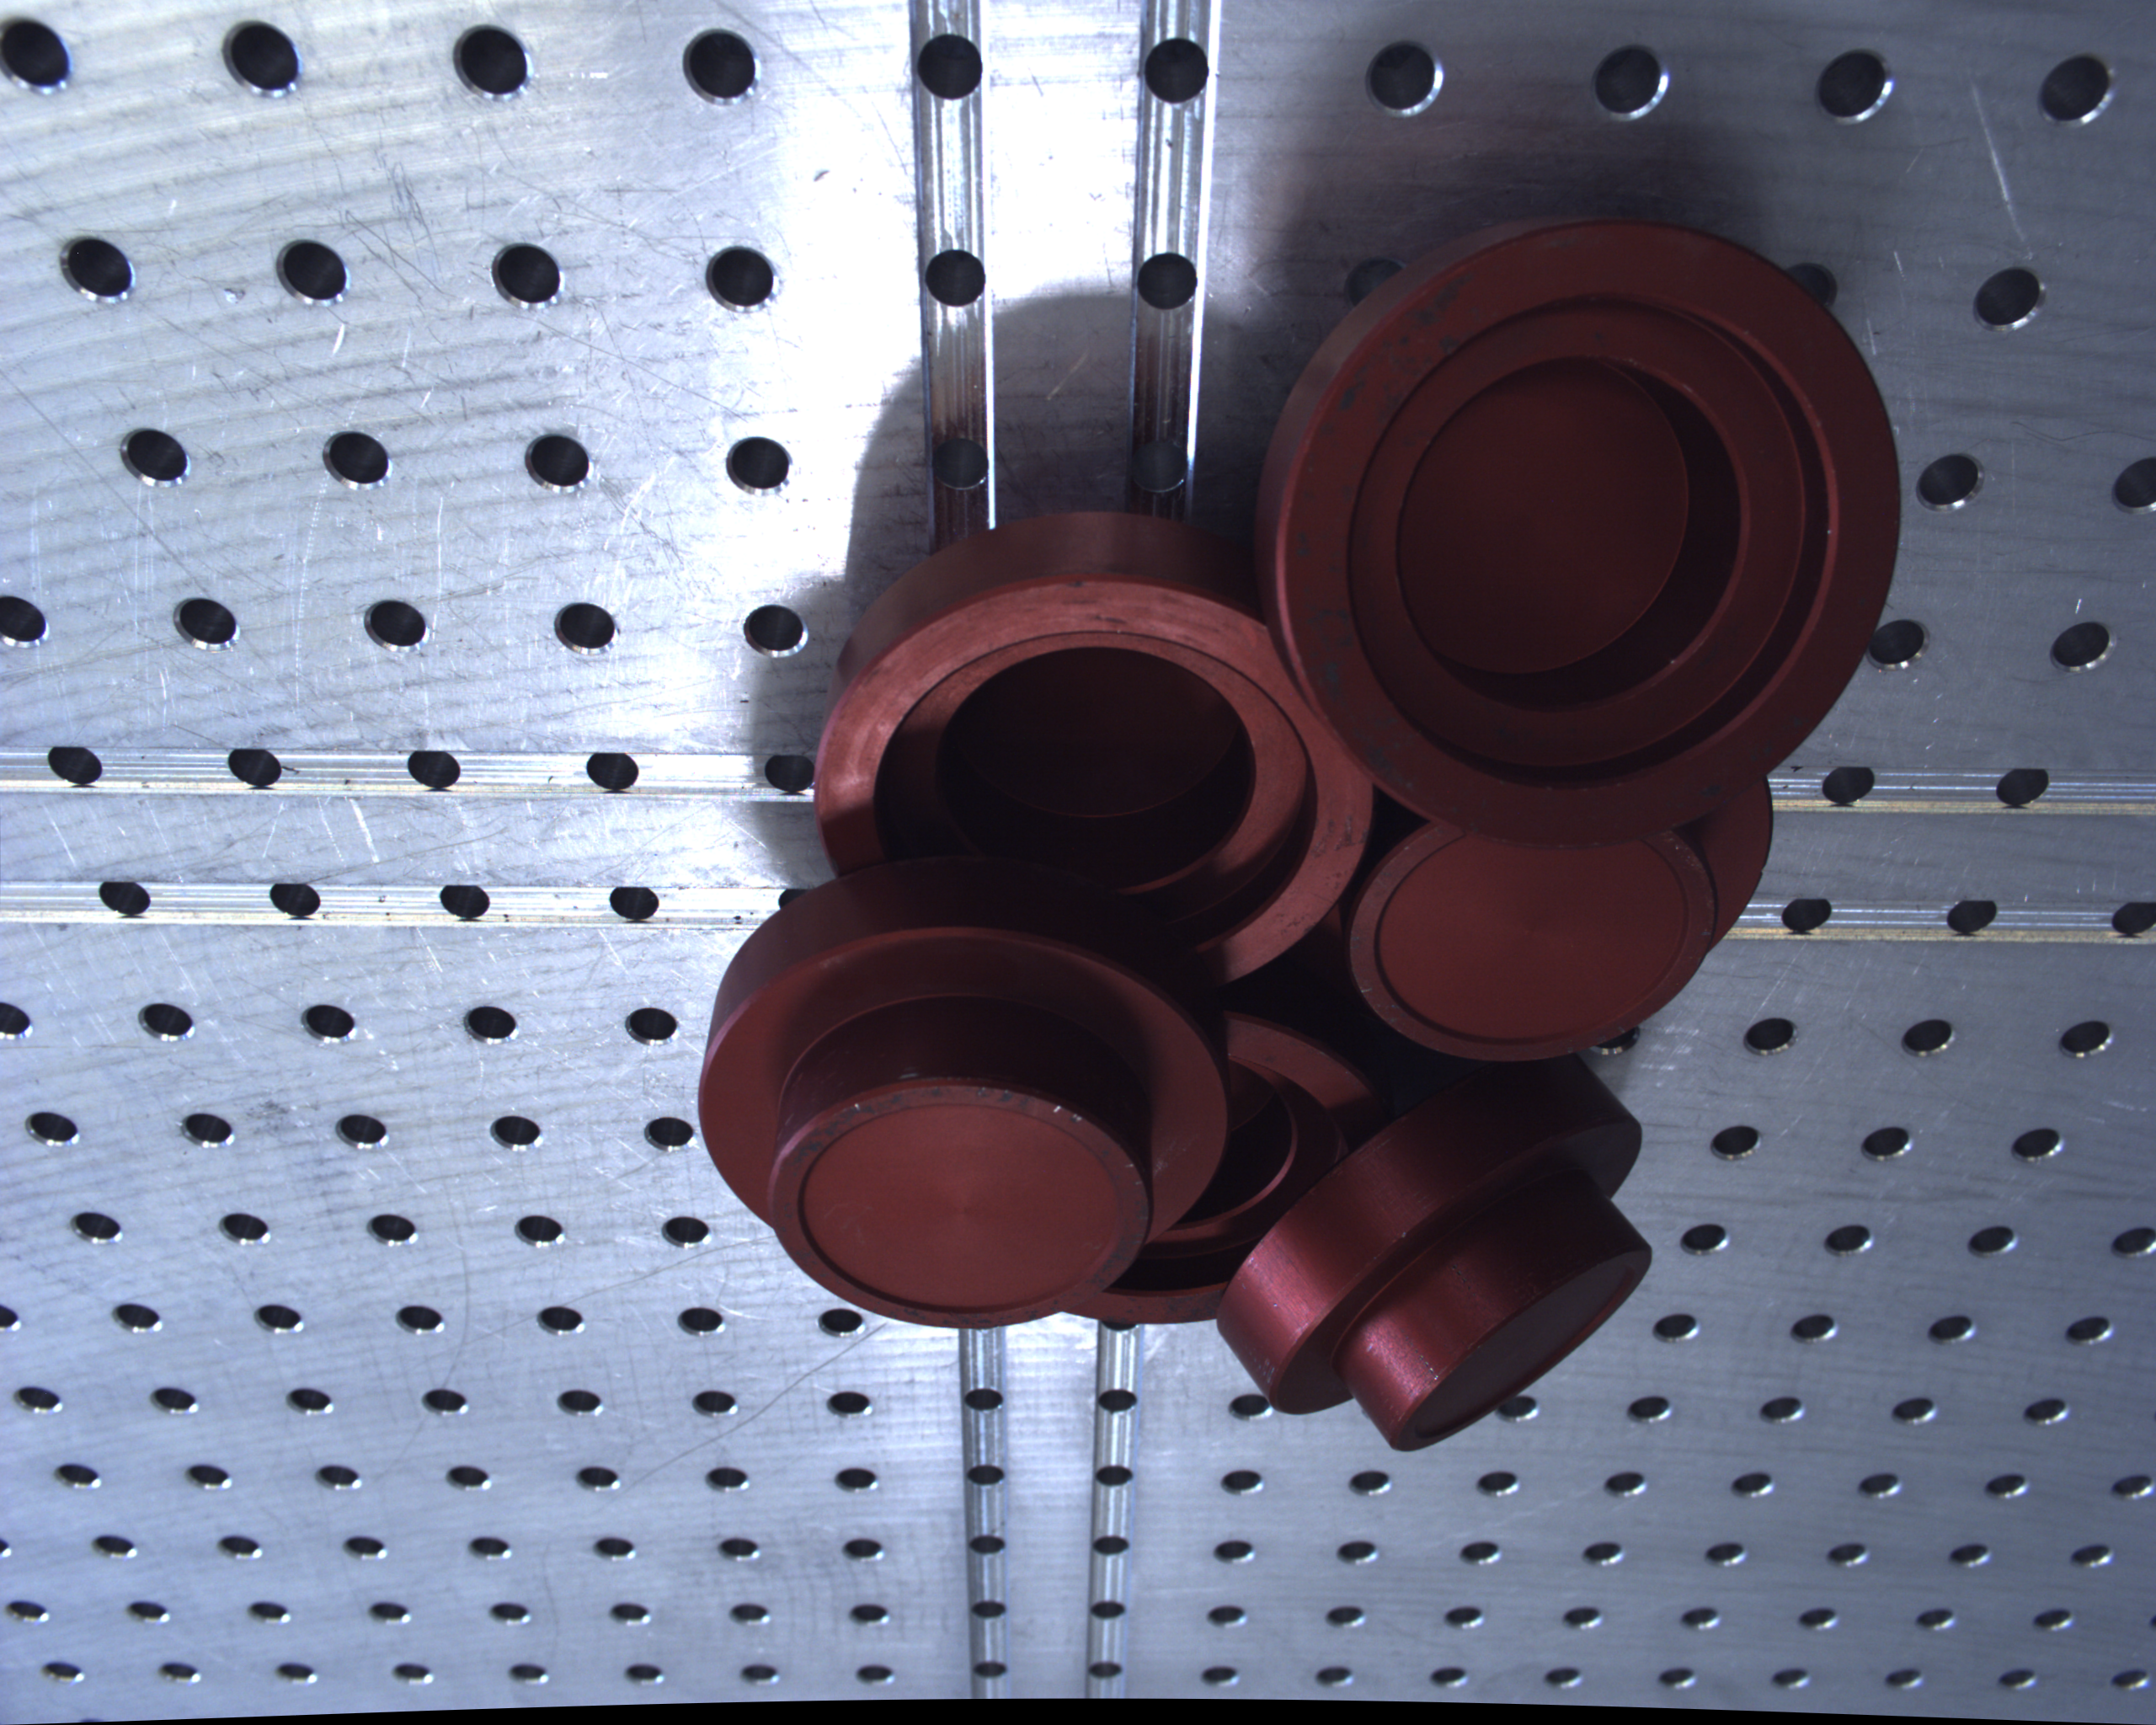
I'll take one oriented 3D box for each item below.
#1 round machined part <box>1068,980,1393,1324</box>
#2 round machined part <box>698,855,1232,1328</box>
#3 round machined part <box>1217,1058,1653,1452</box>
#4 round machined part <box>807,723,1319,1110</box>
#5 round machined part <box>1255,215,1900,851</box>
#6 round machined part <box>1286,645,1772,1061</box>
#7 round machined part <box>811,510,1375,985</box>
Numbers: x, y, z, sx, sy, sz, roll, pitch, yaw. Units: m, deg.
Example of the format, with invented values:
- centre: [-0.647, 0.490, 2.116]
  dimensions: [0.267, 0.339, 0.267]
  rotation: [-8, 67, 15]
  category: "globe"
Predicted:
- centre: [0.017, 0.052, 0.444]
  dimensions: [0.099, 0.042, 0.097]
  rotation: [0, 130, 0]
  category: "round machined part"
- centre: [-0.021, 0.049, 0.386]
  dimensions: [0.099, 0.042, 0.097]
  rotation: [0, 130, 0]
  category: "round machined part"
- centre: [0.082, 0.087, 0.443]
  dimensions: [0.099, 0.042, 0.098]
  rotation: [-27, 150, -17]
  category: "round machined part"
- centre: [-0.004, 0.011, 0.409]
  dimensions: [0.099, 0.042, 0.097]
  rotation: [0, 130, 0]
  category: "round machined part"
- centre: [0.077, -0.054, 0.340]
  dimensions: [0.099, 0.042, 0.097]
  rotation: [-2, 109, -6]
  category: "round machined part"
- centre: [0.083, 0.000, 0.401]
  dimensions: [0.099, 0.042, 0.097]
  rotation: [0, 130, 0]
  category: "round machined part"
- centre: [0.003, -0.023, 0.381]
  dimensions: [0.099, 0.042, 0.097]
  rotation: [0, 130, 0]
  category: "round machined part"
